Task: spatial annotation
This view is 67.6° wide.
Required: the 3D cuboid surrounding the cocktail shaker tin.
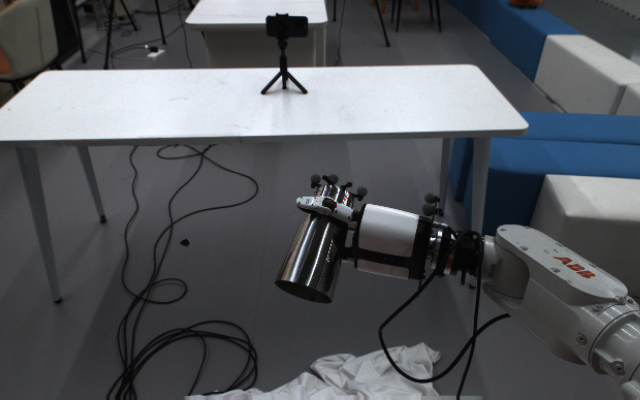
[{"bbox_3d":[0.002,0.062,0.758,0.093,0.093,0.170,12,65,15],"label":"cocktail shaker tin"}]
